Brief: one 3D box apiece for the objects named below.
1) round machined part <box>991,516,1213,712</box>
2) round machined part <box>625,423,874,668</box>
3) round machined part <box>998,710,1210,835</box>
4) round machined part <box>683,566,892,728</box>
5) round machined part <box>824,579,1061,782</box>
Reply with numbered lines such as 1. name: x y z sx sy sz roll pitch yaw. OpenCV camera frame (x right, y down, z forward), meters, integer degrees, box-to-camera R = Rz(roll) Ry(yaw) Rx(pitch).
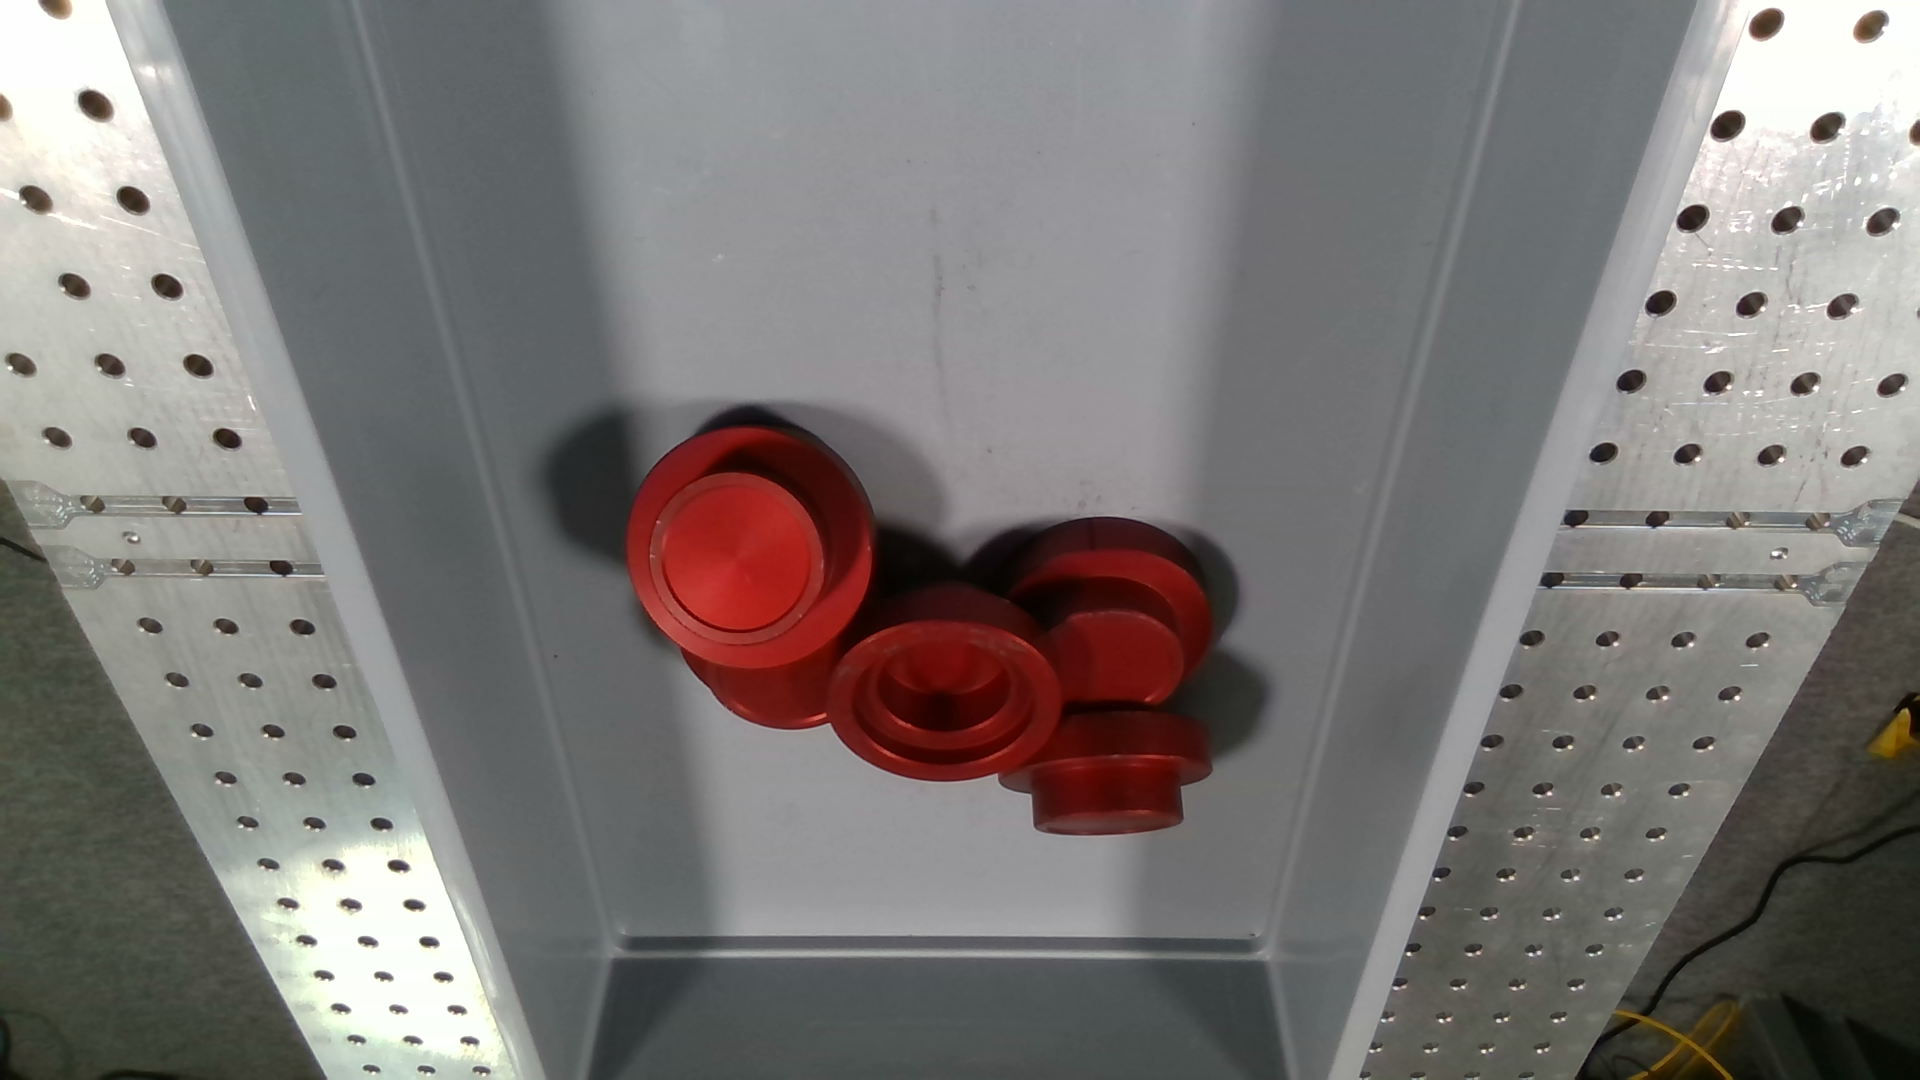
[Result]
1. round machined part: 0.061 0.040 0.600 0.098 0.042 0.098 0 130 0
2. round machined part: -0.084 0.003 0.542 0.098 0.042 0.098 1 100 3
3. round machined part: 0.066 0.109 0.631 0.098 0.042 0.098 -2 160 -1
4. round machined part: -0.075 0.045 0.604 0.098 0.042 0.098 0 130 0
5. round machined part: -0.007 0.055 0.585 0.098 0.042 0.098 0 130 0
